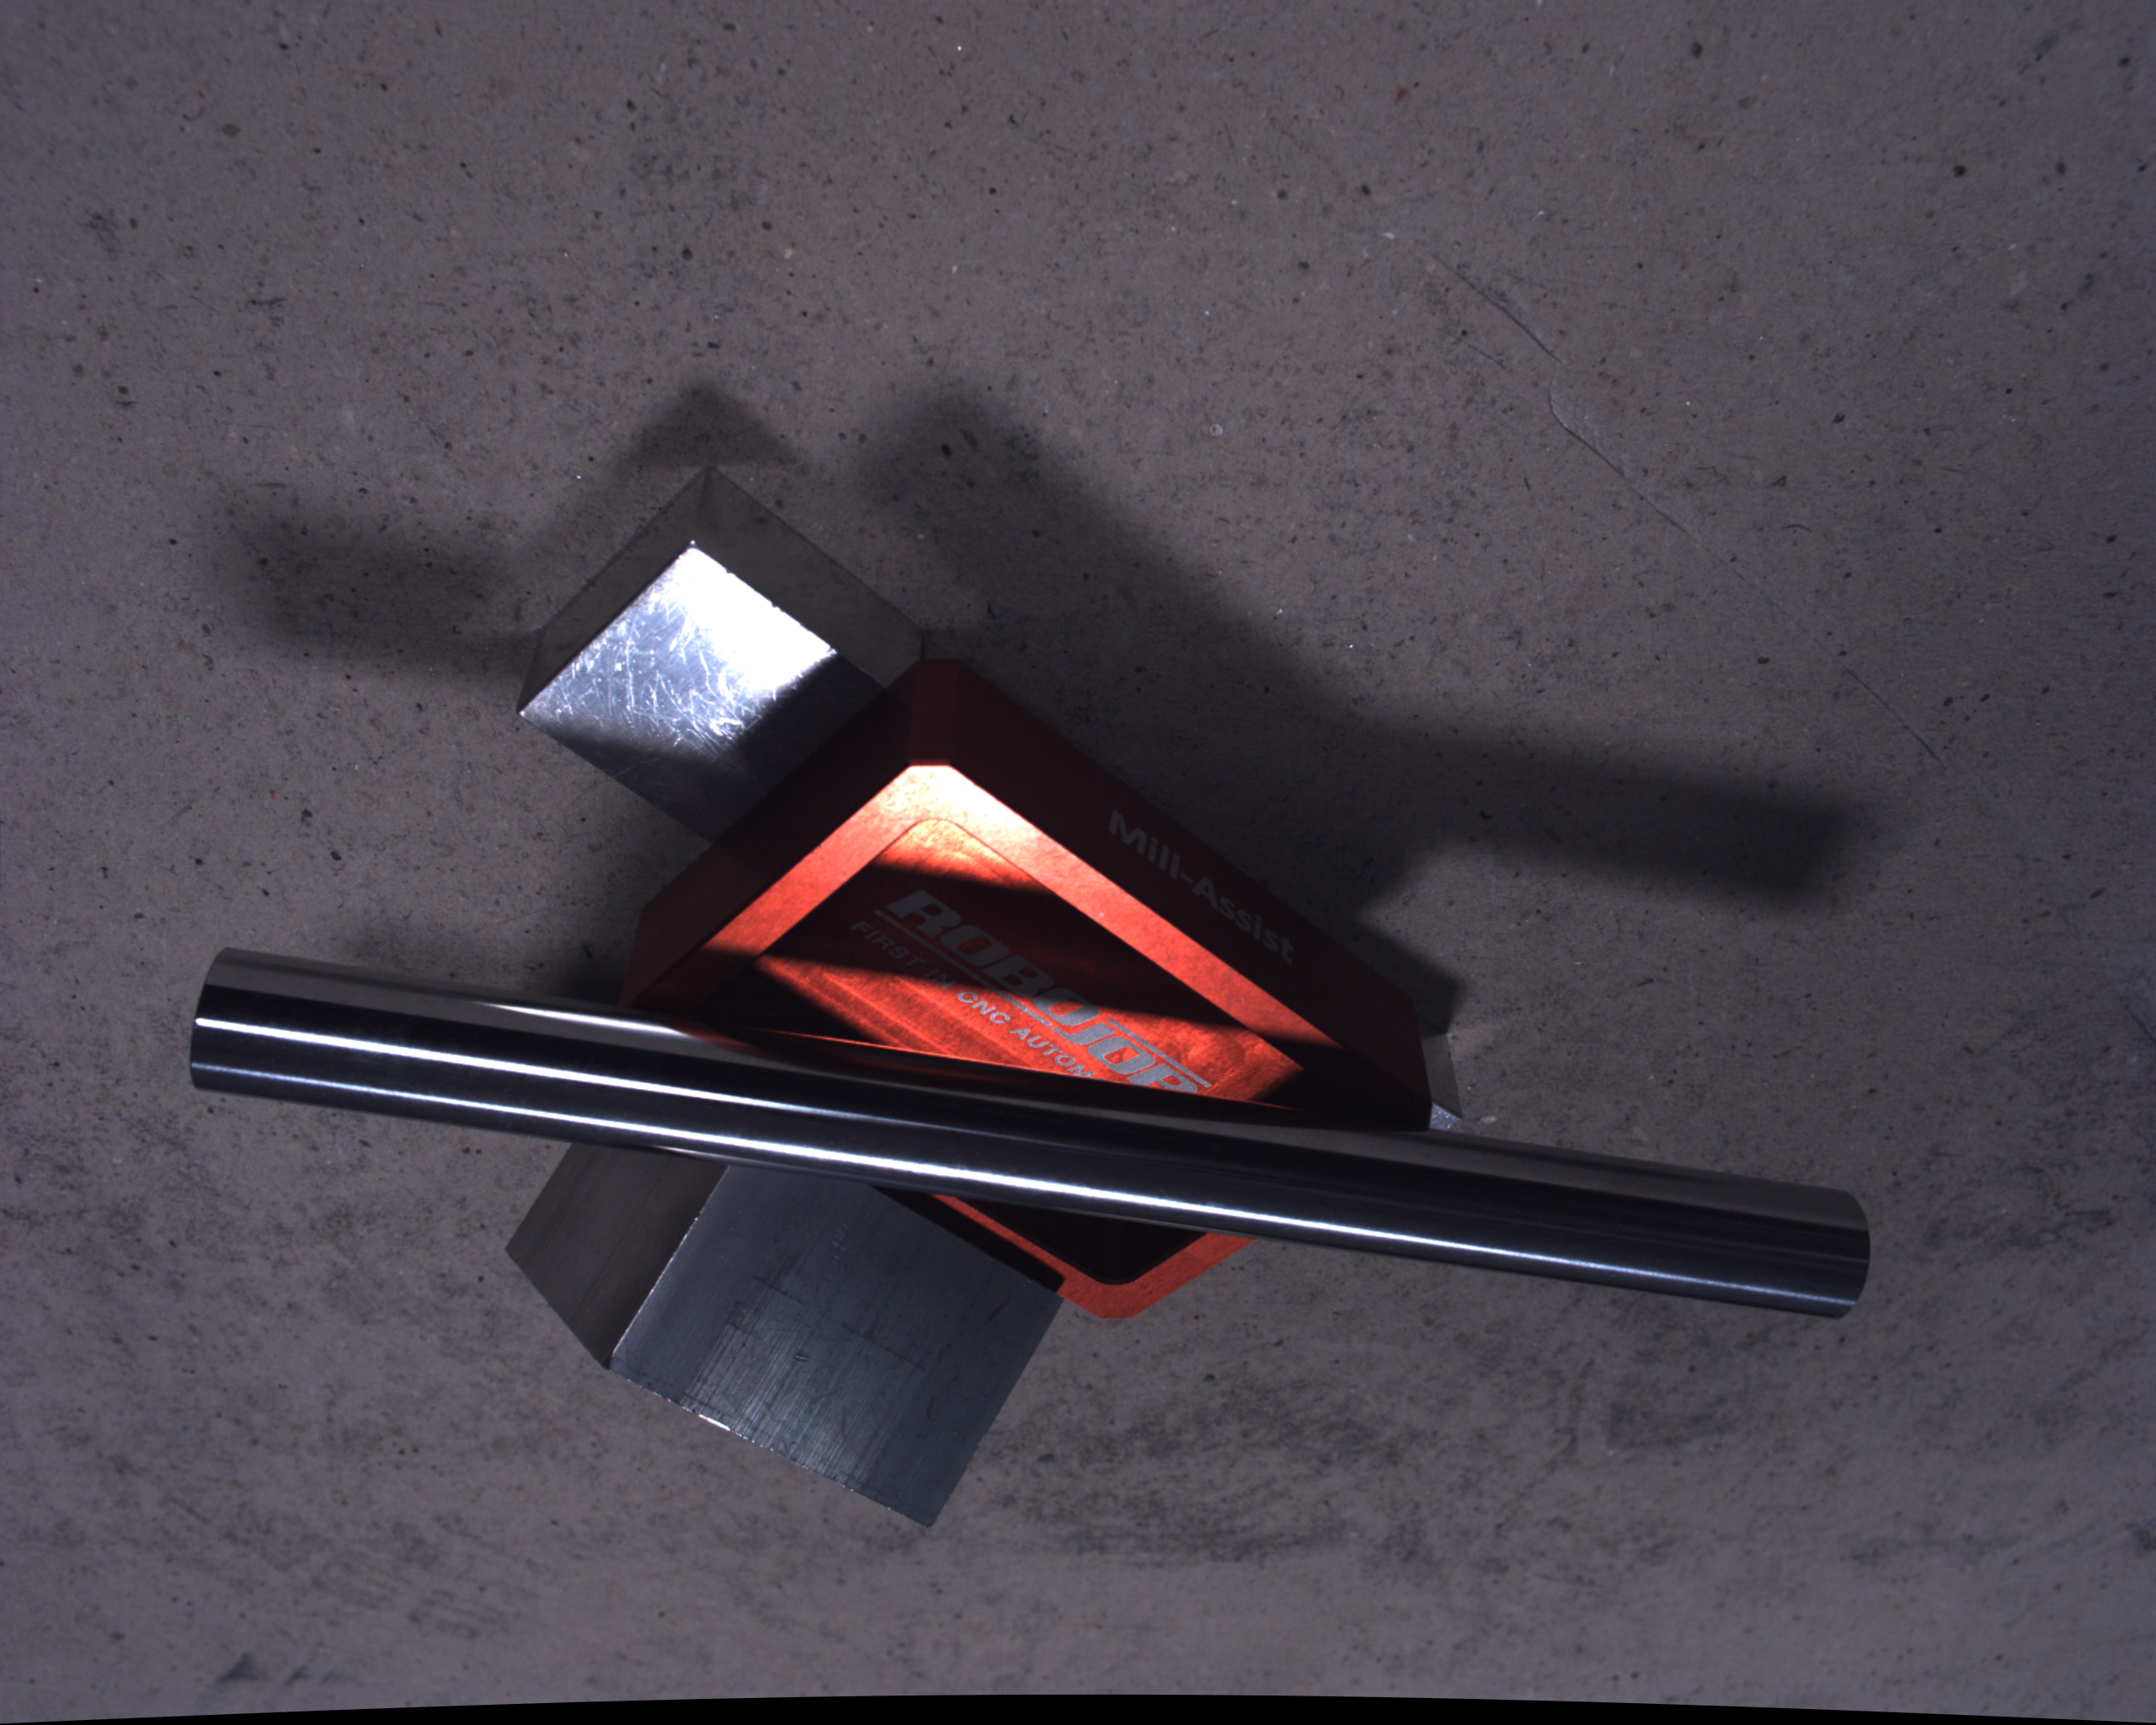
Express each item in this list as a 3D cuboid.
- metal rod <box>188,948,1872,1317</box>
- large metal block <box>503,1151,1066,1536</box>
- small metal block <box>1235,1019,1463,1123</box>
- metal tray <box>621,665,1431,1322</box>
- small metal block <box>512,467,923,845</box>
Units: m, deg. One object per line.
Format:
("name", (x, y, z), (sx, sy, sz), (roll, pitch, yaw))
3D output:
("metal rod", (-0.001, 0.051, 0.380), (0.302, 0.025, 0.025), (9, 130, -9))
("large metal block", (-0.063, 0.087, 0.435), (0.080, 0.080, 0.050), (36, 80, -27))
("small metal block", (0.046, 0.049, 0.451), (0.050, 0.025, 0.050), (31, 123, -24))
("metal tray", (-0.008, 0.031, 0.398), (0.130, 0.030, 0.090), (36, 121, -27))
("small metal block", (-0.064, -0.034, 0.378), (0.050, 0.025, 0.050), (-38, 121, 27))
